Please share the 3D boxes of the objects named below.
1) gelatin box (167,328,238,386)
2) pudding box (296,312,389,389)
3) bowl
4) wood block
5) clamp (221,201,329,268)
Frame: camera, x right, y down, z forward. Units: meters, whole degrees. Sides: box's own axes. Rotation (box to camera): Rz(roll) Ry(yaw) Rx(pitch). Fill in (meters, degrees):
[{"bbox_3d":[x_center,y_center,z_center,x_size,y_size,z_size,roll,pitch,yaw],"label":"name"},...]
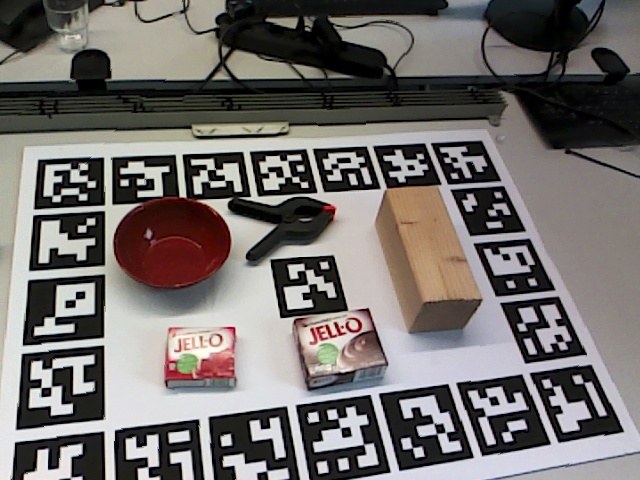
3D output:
[{"bbox_3d":[-0.155,0.155,0.823,0.089,0.030,0.073,3,55,-8],"label":"gelatin box"},{"bbox_3d":[0.029,0.151,0.854,0.113,0.038,0.090,-6,59,-11],"label":"pudding box"},{"bbox_3d":[-0.210,0.016,0.912,0.161,0.055,0.162,5,55,-8],"label":"bowl"},{"bbox_3d":[0.166,0.032,0.932,0.089,0.091,0.207,-1,54,-12],"label":"wood block"},{"bbox_3d":[-0.062,-0.022,0.979,0.164,0.036,0.122,-12,56,-20],"label":"clamp"}]
